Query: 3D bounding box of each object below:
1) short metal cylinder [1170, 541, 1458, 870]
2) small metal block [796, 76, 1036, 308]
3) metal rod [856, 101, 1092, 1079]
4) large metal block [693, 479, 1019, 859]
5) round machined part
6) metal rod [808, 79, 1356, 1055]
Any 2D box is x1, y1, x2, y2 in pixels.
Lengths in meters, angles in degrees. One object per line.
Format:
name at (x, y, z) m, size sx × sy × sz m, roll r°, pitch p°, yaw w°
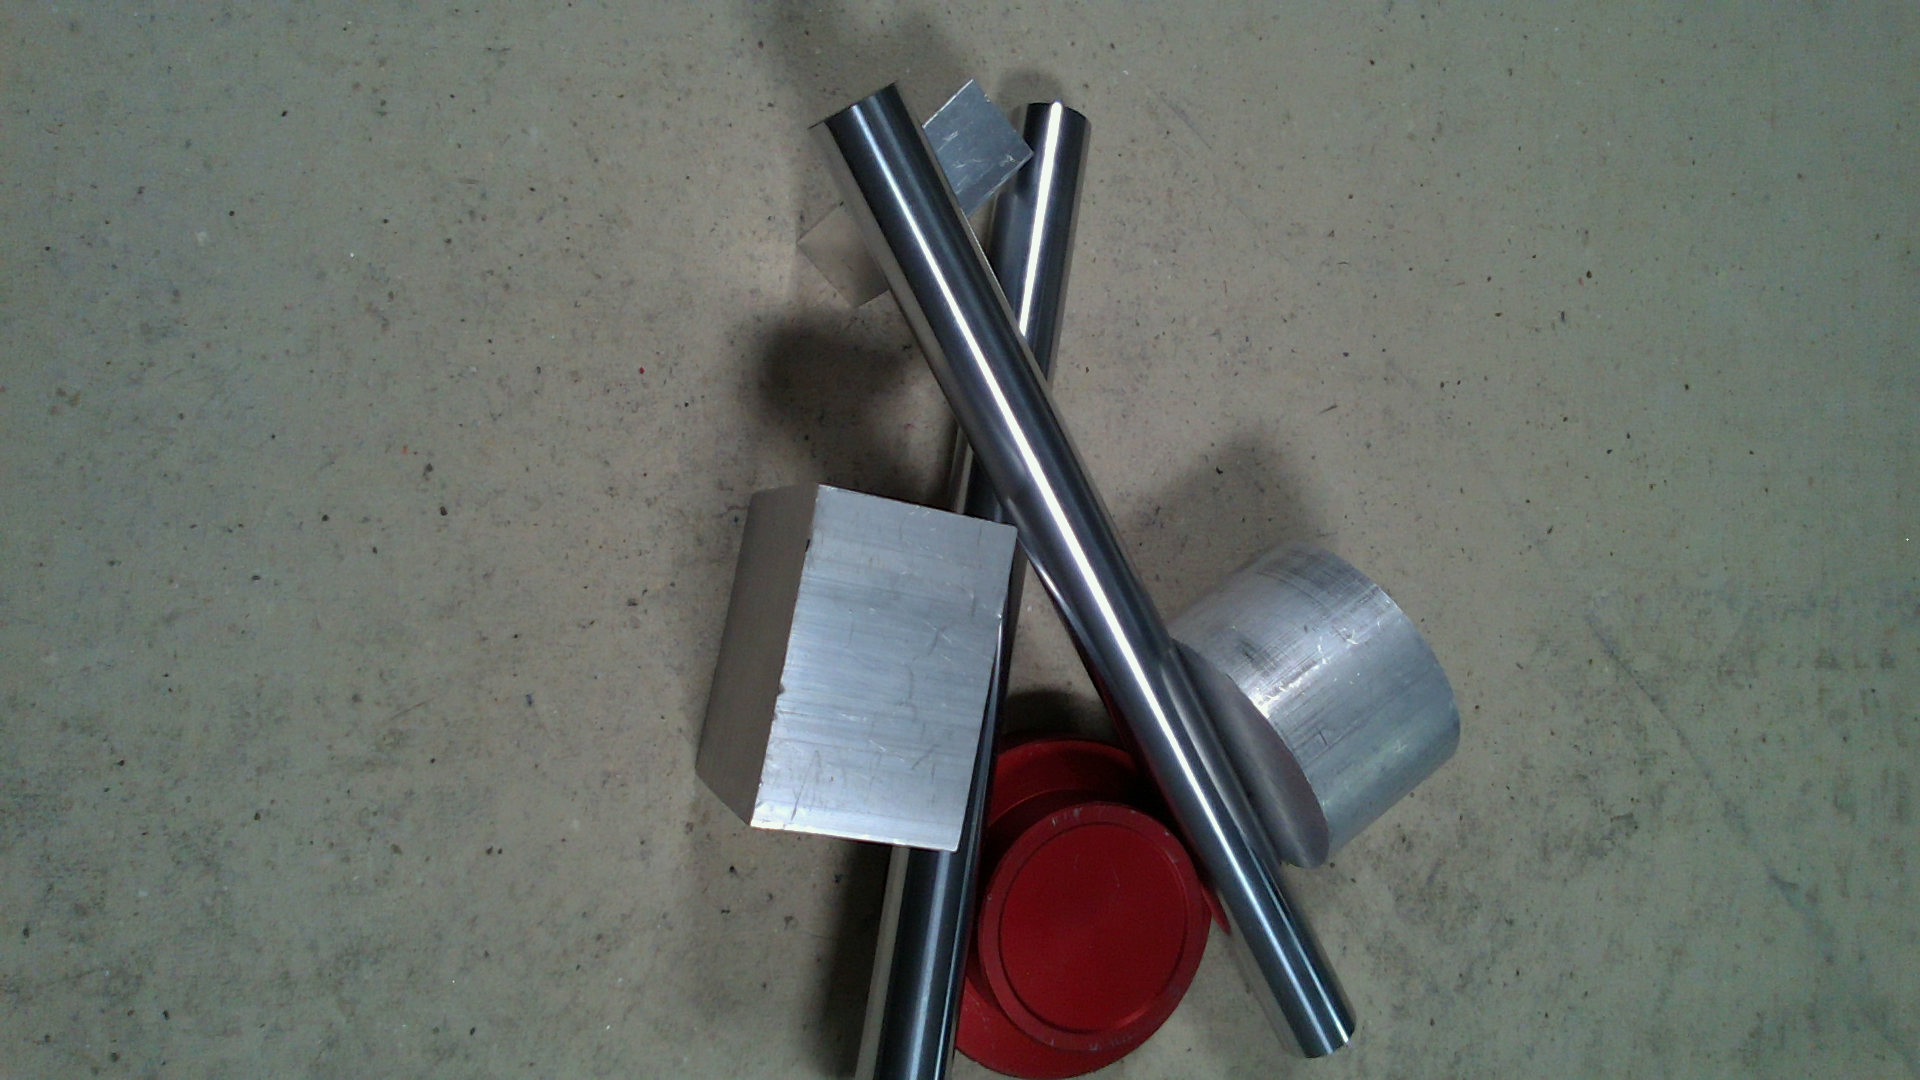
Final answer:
short metal cylinder at (0.095, 0.048, 0.400) m, size 0.050 × 0.080 × 0.080 m, roll -34°, pitch 101°, yaw -17°
small metal block at (-0.014, -0.093, 0.375) m, size 0.025 × 0.050 × 0.050 m, roll 47°, pitch 76°, yaw -14°
metal rod at (0.004, 0.024, 0.379) m, size 0.025 × 0.025 × 0.300 m, roll 12°, pitch 80°, yaw -19°
large metal block at (-0.030, 0.030, 0.354) m, size 0.050 × 0.080 × 0.080 m, roll 12°, pitch 86°, yaw -19°
round machined part at (0.030, 0.107, 0.396) m, size 0.098 × 0.042 × 0.098 m, roll 0°, pitch 90°, yaw -20°
metal rod at (0.042, 0.022, 0.373) m, size 0.025 × 0.025 × 0.300 m, roll -34°, pitch 110°, yaw -17°
